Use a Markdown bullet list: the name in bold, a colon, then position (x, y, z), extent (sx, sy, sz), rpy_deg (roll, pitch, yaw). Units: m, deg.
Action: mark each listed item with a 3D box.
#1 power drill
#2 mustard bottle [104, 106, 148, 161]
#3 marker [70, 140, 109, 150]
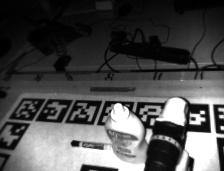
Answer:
- **power drill**: position (0.116, 0.148, 0.446), extent (0.057, 0.188, 0.185), rpy_deg (11, 47, 25)
- **mustard bottle**: position (0.032, 0.116, 0.530), extent (0.095, 0.193, 0.058), rpy_deg (8, 49, 23)
- **marker**: position (-0.067, 0.172, 0.630), extent (0.120, 0.020, 0.019), rpy_deg (0, 47, 17)
